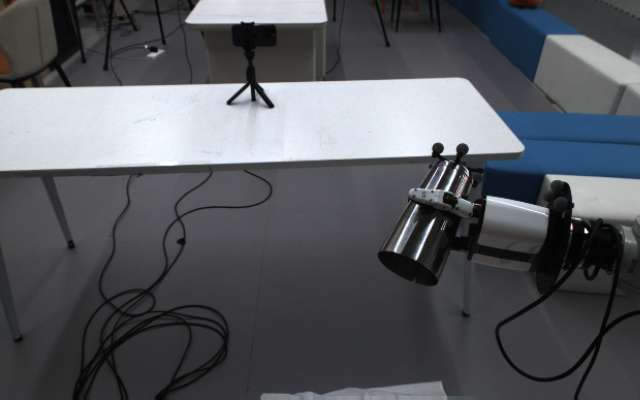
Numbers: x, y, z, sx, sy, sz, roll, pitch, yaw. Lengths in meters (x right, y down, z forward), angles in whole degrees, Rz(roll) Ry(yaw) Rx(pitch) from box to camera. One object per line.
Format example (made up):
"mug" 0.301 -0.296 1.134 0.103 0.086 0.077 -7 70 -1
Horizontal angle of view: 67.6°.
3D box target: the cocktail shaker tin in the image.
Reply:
"cocktail shaker tin" 0.163 0.024 0.702 0.093 0.093 0.170 20 67 23
